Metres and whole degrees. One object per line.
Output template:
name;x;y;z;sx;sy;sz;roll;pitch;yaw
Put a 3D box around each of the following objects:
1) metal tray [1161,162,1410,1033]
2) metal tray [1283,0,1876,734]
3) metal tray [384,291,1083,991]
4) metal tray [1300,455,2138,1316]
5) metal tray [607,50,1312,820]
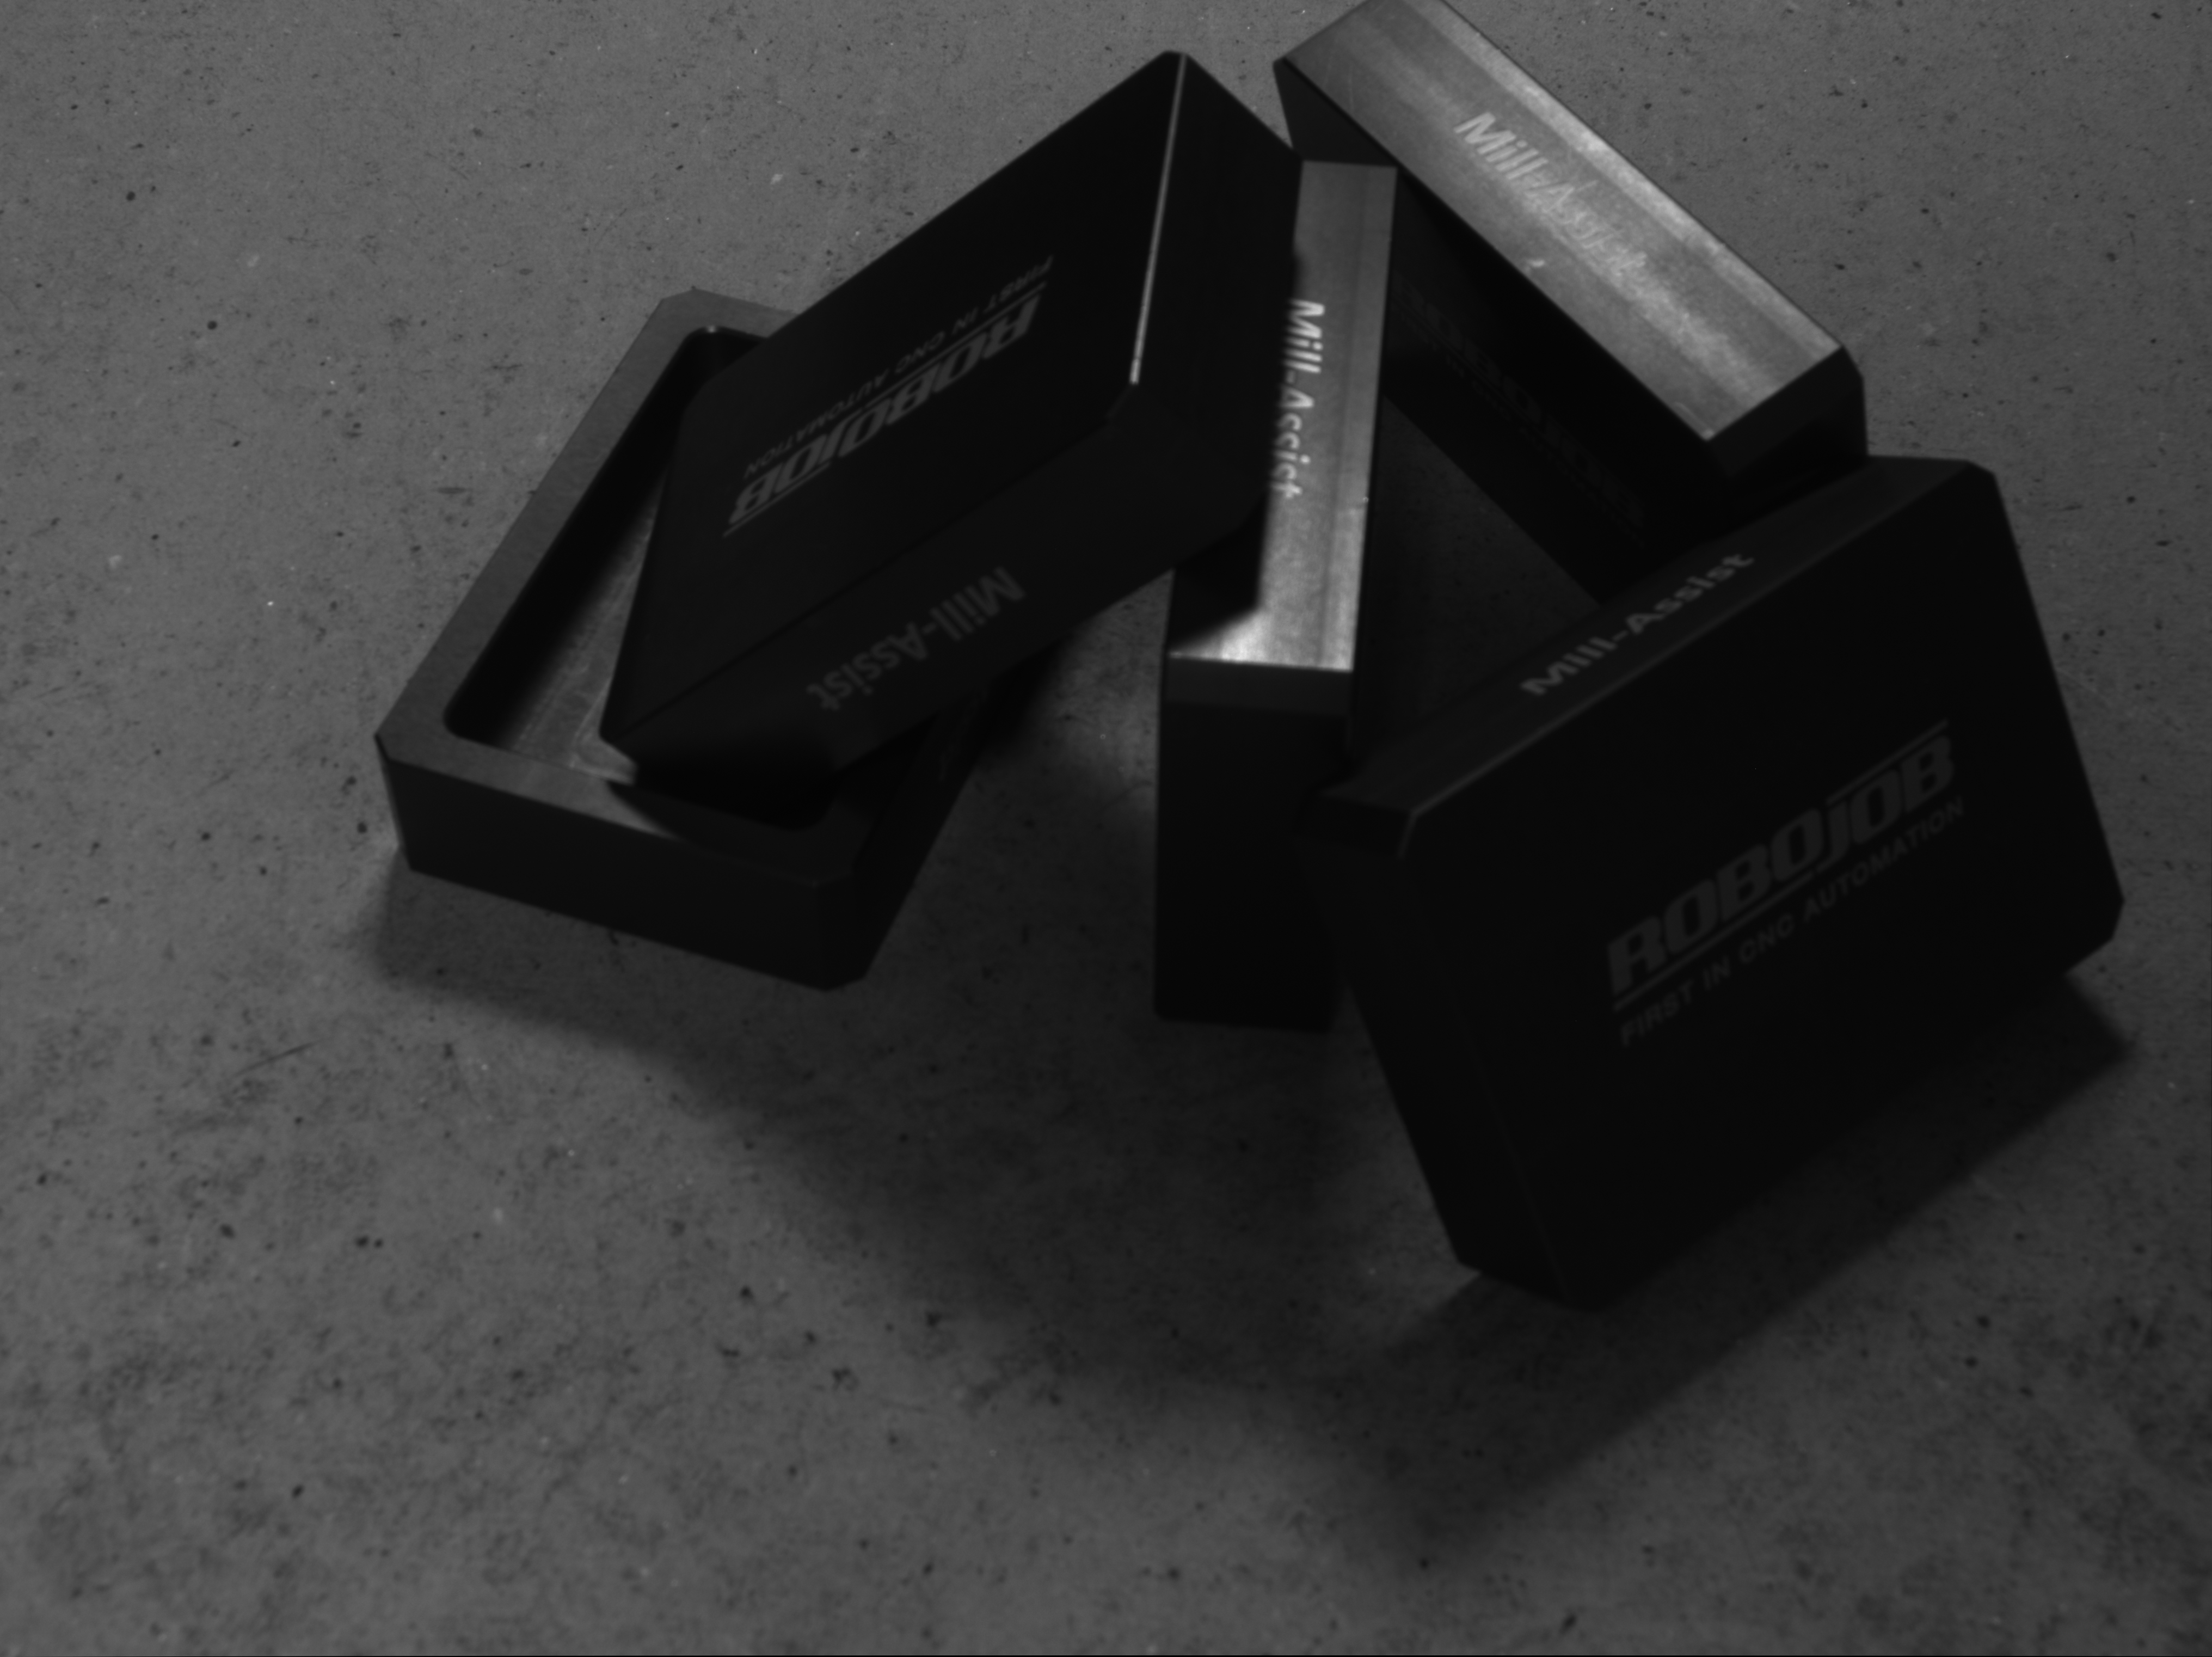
metal tray;0.031;-0.042;0.635;0.030;0.090;0.130;5;50;4
metal tray;0.088;-0.086;0.670;0.030;0.090;0.130;-35;57;-9
metal tray;-0.062;-0.038;0.671;0.090;0.030;0.130;16;52;13
metal tray;0.103;0.007;0.594;0.130;0.090;0.030;-31;21;-23
metal tray;-0.025;-0.064;0.623;0.130;0.030;0.090;-29;38;36
